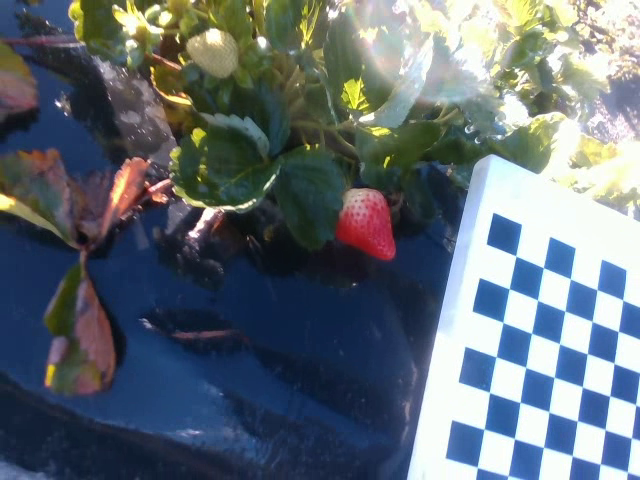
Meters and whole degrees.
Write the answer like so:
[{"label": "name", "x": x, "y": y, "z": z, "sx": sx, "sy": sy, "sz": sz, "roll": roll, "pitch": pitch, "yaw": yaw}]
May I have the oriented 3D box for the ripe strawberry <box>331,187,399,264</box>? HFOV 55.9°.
[{"label": "ripe strawberry", "x": 0.036, "y": -0.009, "z": 0.432, "sx": 0.040, "sy": 0.065, "sz": 0.040, "roll": -30, "pitch": 0, "yaw": -26}]
